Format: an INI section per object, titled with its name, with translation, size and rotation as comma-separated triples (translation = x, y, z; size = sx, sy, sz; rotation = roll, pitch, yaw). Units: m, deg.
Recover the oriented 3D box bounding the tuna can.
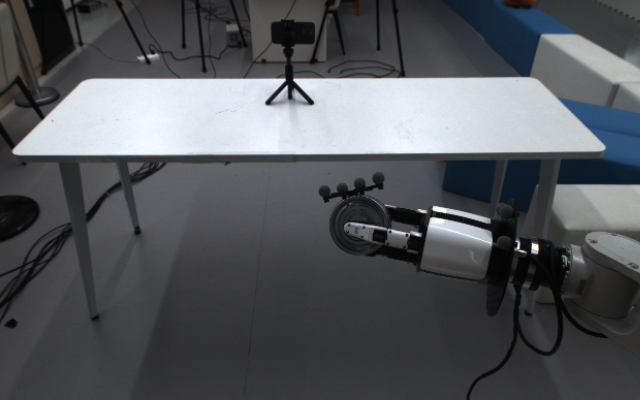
[tuna can]
translation = 0.061, 0.040, 0.680
size = 0.085, 0.085, 0.034
rotation = 12, 3, 14
